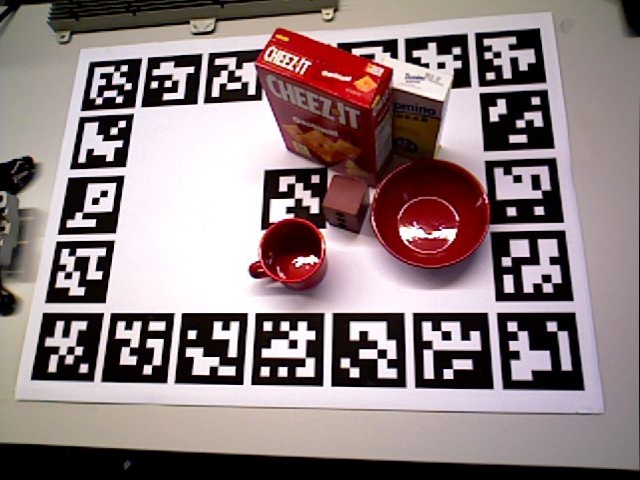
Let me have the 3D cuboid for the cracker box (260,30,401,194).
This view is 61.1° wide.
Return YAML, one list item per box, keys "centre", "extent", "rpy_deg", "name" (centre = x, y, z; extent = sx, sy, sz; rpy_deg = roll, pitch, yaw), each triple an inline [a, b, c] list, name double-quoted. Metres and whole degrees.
- centre: [0.018, -0.164, 0.730]
  extent: [0.164, 0.216, 0.071]
  rpy_deg: [29, 74, 16]
  name: "cracker box"

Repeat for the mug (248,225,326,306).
- centre: [-0.048, 0.041, 0.739]
  extent: [0.117, 0.082, 0.092]
  rpy_deg: [-9, 62, 7]
  name: "mug"

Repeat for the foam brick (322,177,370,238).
- centre: [0.038, -0.044, 0.764]
  extent: [0.053, 0.079, 0.051]
  rpy_deg: [15, 72, 14]
  name: "foam brick"

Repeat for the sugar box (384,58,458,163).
- centre: [0.130, -0.171, 0.732]
  extent: [0.093, 0.178, 0.045]
  rpy_deg: [21, 74, 15]
  name: "sugar box"

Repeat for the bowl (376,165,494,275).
- centre: [0.157, -0.016, 0.731]
  extent: [0.162, 0.055, 0.160]
  rpy_deg: [-3, 72, 8]
  name: "bowl"
